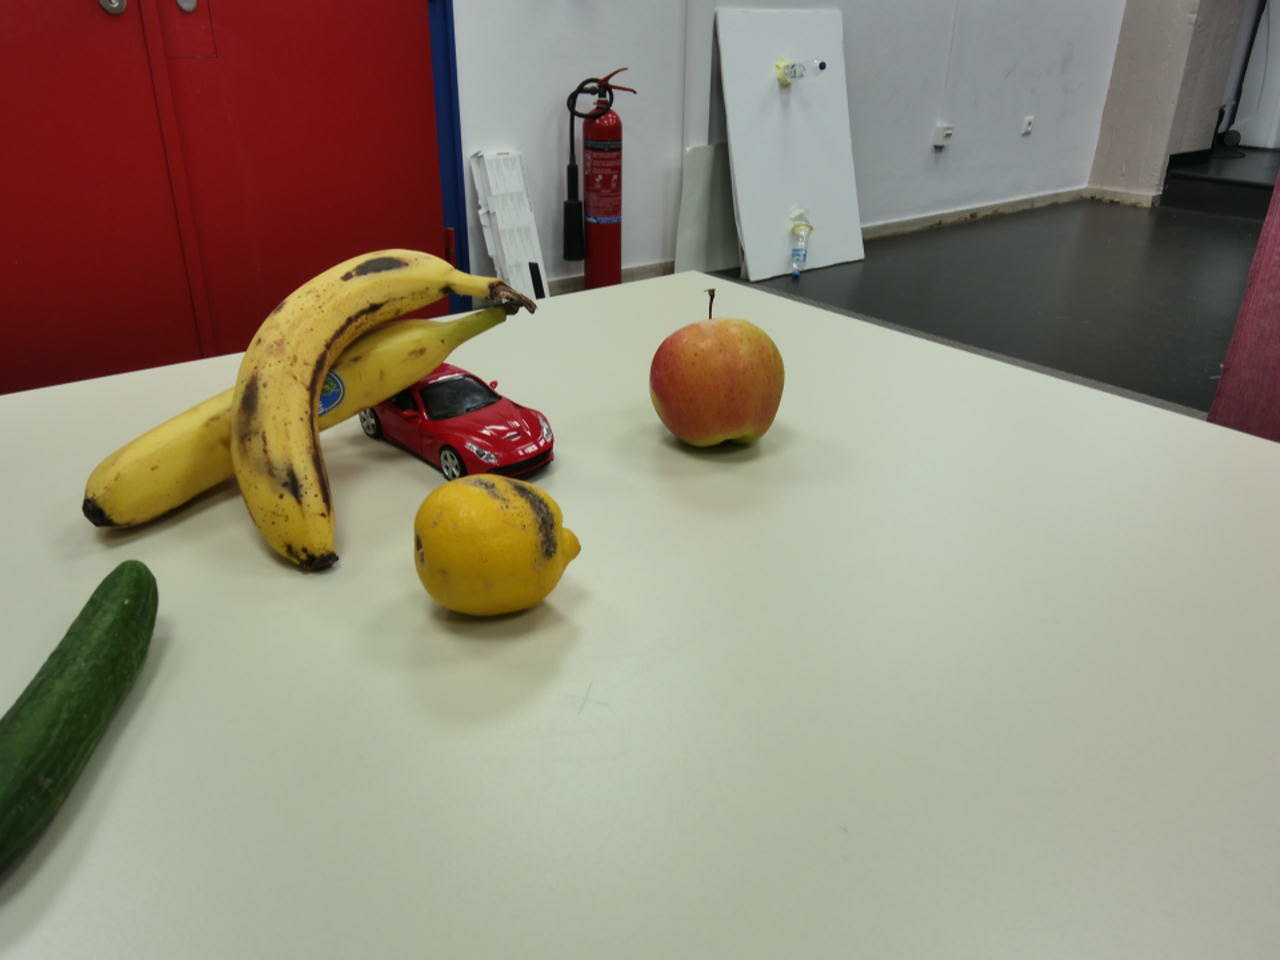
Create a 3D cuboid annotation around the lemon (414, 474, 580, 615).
[{"bbox_3d":[-0.060,0.025,0.401,0.058,0.056,0.061,20,31,39],"label":"lemon"}]
